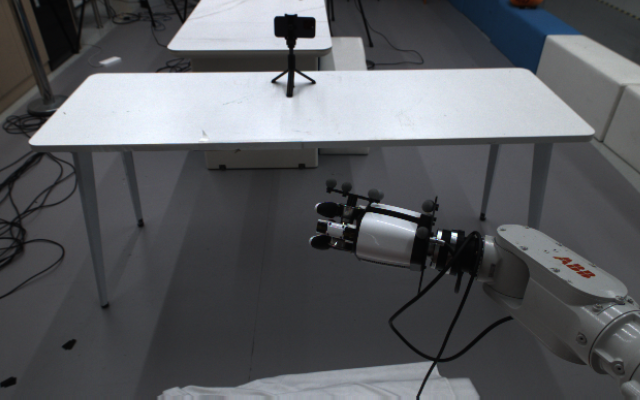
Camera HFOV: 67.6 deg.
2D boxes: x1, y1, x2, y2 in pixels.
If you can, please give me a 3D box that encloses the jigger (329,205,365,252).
[{"bbox_3d":[0.044,0.043,0.771,0.043,0.071,0.043,14,1,0],"label":"jigger"}]
